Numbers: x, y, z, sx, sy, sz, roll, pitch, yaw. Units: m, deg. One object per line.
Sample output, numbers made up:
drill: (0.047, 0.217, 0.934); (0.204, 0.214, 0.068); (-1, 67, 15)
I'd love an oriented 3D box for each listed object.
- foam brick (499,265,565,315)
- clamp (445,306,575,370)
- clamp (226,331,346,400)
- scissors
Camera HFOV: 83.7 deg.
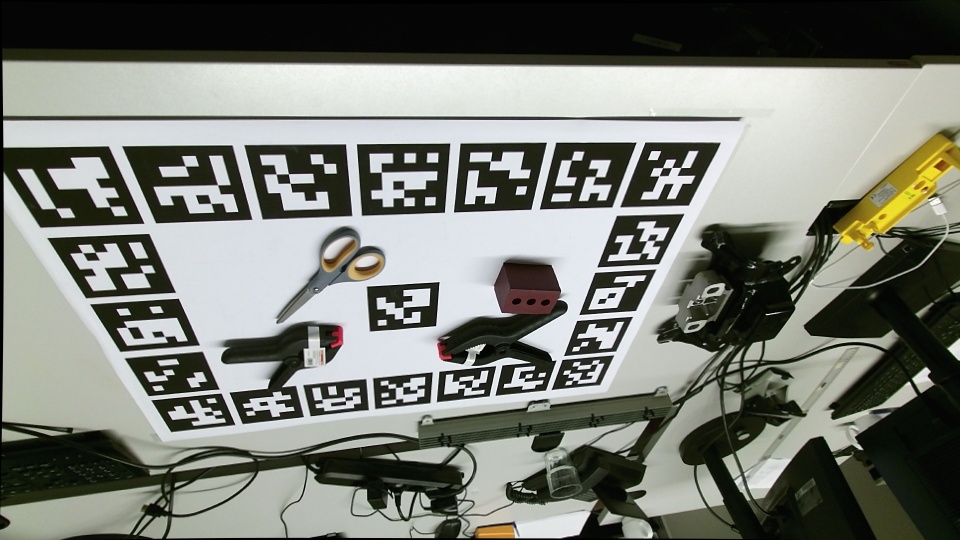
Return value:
foam brick: (0.077, 0.029, 0.783); (0.078, 0.051, 0.053); (-1, 132, -21)
clamp: (0.045, 0.125, 0.877); (0.203, 0.036, 0.165); (-6, 138, -9)
clamp: (-0.274, 0.136, 0.805); (0.165, 0.036, 0.122); (-24, 128, 7)
scissors: (-0.199, 0.025, 0.721); (0.088, 0.016, 0.203); (35, 119, -30)
